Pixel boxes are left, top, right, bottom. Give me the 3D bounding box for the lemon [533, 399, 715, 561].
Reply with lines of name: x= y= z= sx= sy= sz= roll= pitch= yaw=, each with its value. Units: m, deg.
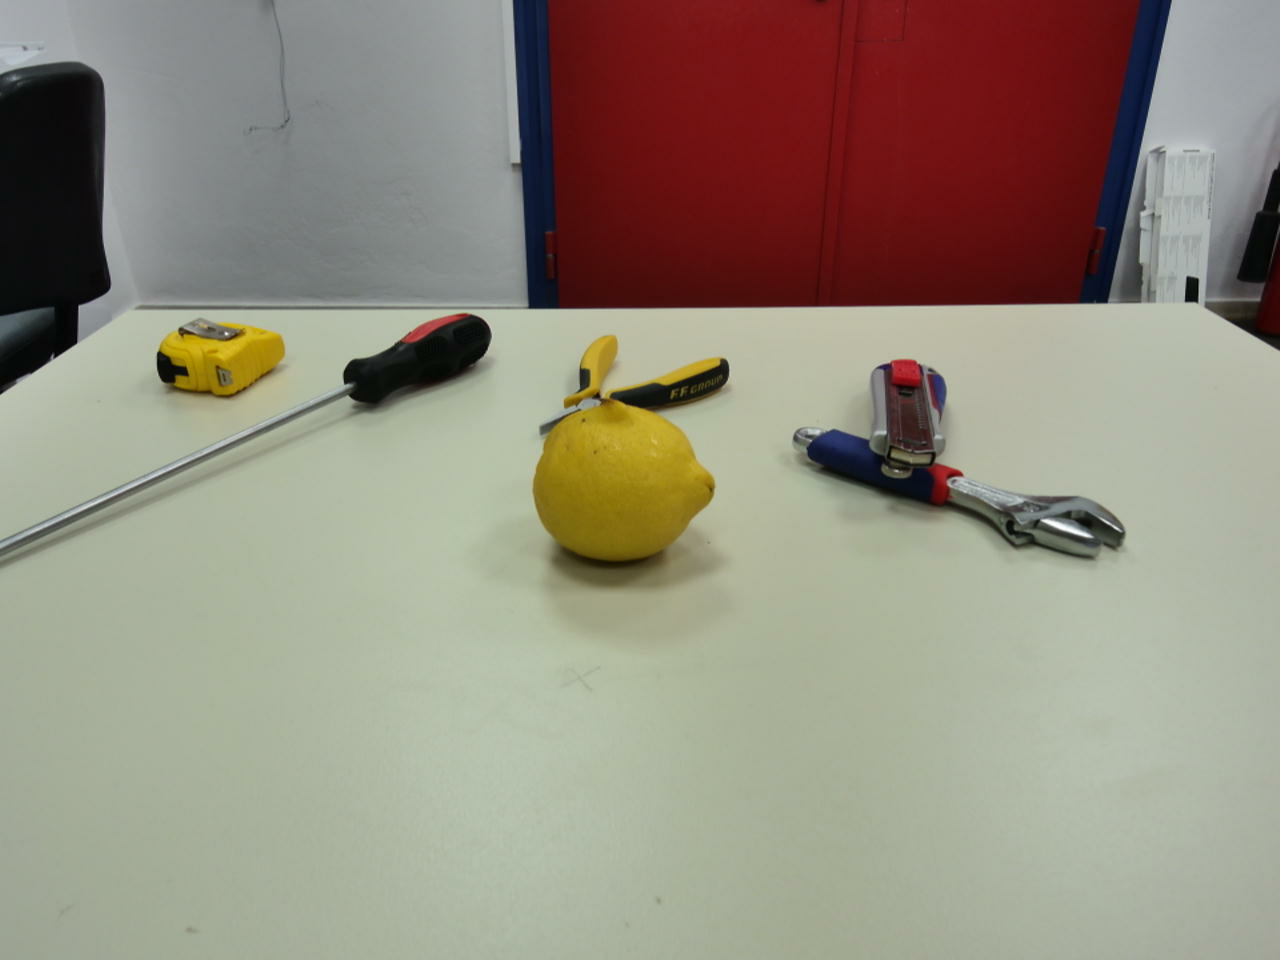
lemon: x=-0.010 y=-0.002 z=0.428 sx=0.070 sy=0.071 sz=0.071 roll=-17 pitch=29 yaw=-31
